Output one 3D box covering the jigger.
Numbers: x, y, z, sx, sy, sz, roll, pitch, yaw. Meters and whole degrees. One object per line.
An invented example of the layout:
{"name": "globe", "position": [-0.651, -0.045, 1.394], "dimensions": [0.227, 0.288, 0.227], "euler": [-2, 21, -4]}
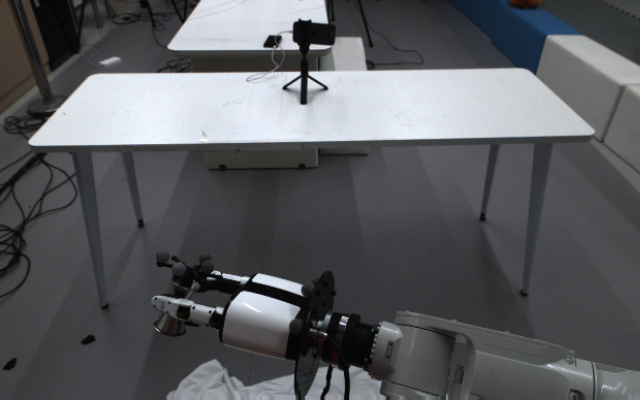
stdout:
{"name": "jigger", "position": [-0.189, 0.140, 0.643], "dimensions": [0.043, 0.071, 0.043], "euler": [21, 6, -2]}
